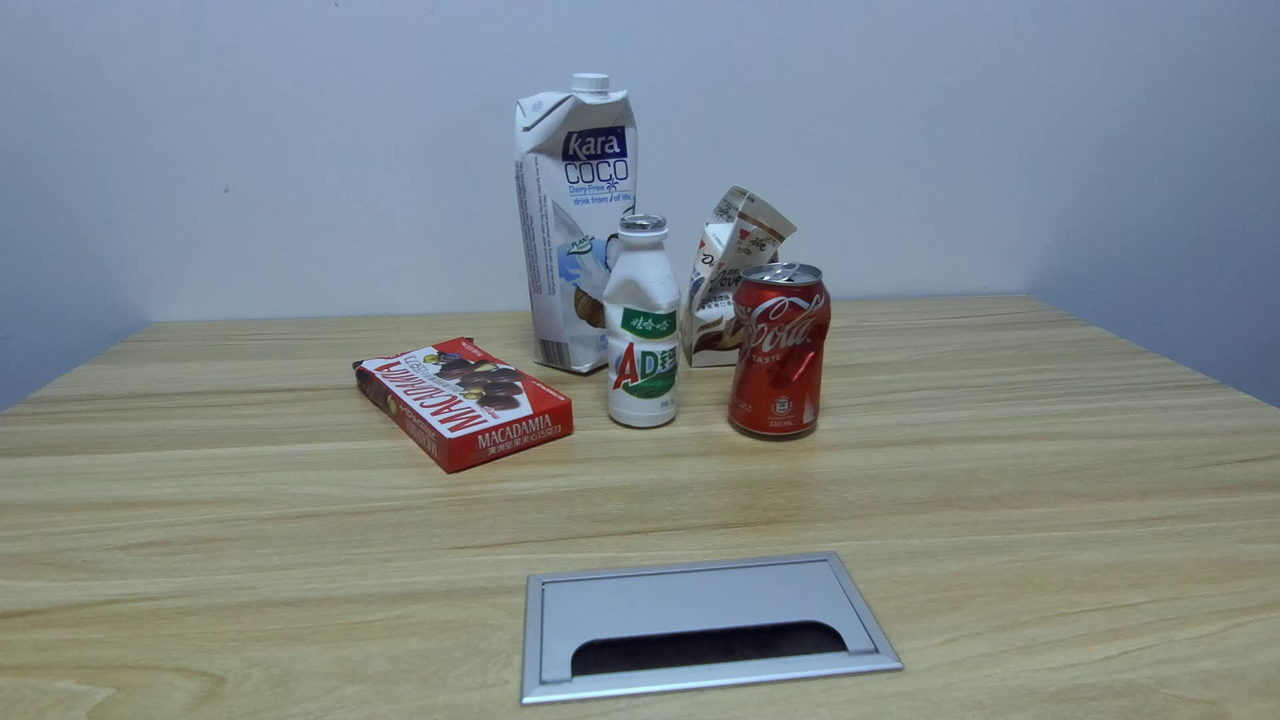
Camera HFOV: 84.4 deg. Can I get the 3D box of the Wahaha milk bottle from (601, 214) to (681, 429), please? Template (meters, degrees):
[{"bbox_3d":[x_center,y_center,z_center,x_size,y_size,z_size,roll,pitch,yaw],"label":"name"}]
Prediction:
[{"bbox_3d":[0.001,-0.026,0.497,0.056,0.147,0.056,2,22,0],"label":"Wahaha milk bottle"}]

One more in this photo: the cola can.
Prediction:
[{"bbox_3d":[0.096,-0.007,0.494,0.066,0.117,0.066,-3,20,-10],"label":"cola can"}]

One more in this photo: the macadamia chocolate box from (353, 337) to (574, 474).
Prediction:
[{"bbox_3d":[-0.137,0.026,0.538,0.106,0.028,0.182,-17,26,-35],"label":"macadamia chocolate box"}]

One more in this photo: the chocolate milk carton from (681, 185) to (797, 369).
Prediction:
[{"bbox_3d":[0.086,-0.072,0.616,0.089,0.155,0.076,8,25,-14],"label":"chocolate milk carton"}]

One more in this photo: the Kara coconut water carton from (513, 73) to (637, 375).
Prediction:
[{"bbox_3d":[-0.050,-0.111,0.592,0.069,0.238,0.115,14,23,38],"label":"Kara coconut water carton"}]
